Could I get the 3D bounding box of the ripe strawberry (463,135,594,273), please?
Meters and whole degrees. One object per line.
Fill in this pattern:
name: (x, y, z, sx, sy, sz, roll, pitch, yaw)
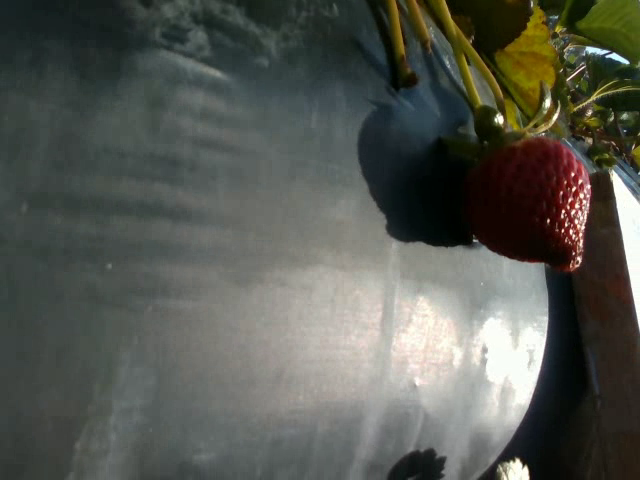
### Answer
ripe strawberry: (0.059, -0.007, 0.158, 0.036, 0.044, 0.040, -30, -12, 36)
